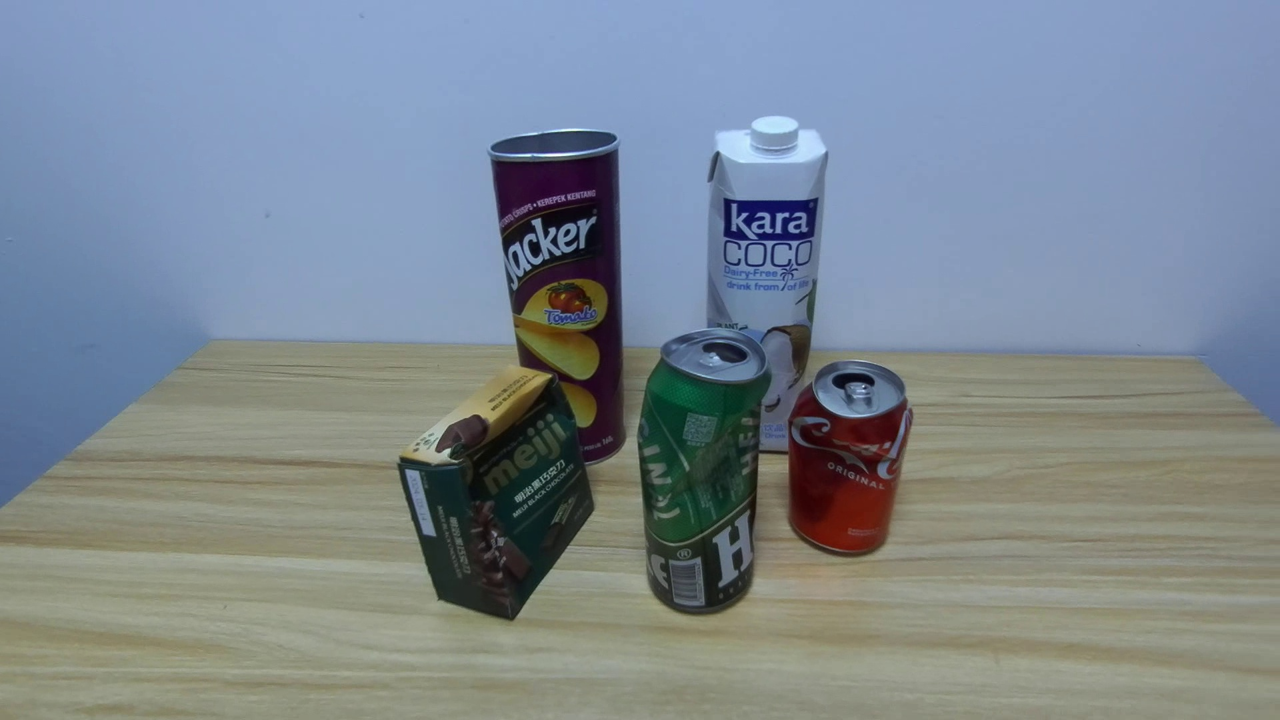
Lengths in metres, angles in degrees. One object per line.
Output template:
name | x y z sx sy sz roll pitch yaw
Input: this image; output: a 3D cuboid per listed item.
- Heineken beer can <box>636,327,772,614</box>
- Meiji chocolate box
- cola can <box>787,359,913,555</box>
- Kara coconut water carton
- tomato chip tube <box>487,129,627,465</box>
Heineken beer can | 0.034 0.066 0.399 0.078 0.164 0.066 -3 31 -8
Meiji chocolate box | -0.085 0.081 0.444 0.058 0.111 0.113 2 28 24
cola can | 0.134 0.062 0.449 0.066 0.117 0.072 -27 40 -37
Kara coconut water carton | 0.087 -0.049 0.509 0.077 0.245 0.075 1 29 6
tomato chip tube | -0.051 -0.037 0.509 0.080 0.234 0.077 9 30 19
